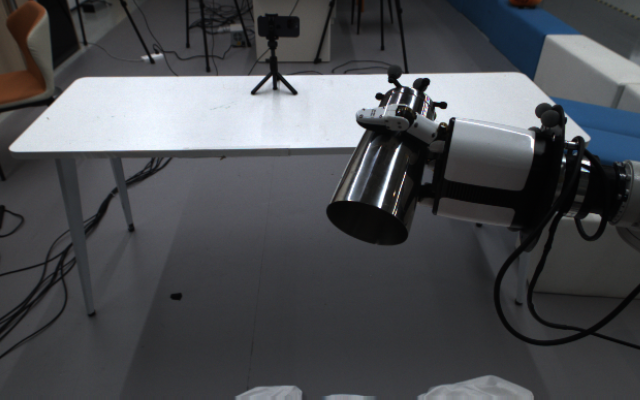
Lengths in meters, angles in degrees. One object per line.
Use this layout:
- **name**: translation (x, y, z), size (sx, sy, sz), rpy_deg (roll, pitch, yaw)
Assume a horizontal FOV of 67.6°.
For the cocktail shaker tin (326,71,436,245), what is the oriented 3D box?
- **cocktail shaker tin**: translation (0.080, -0.045, 0.549), size (0.093, 0.093, 0.170), rpy_deg (14, 62, 17)
